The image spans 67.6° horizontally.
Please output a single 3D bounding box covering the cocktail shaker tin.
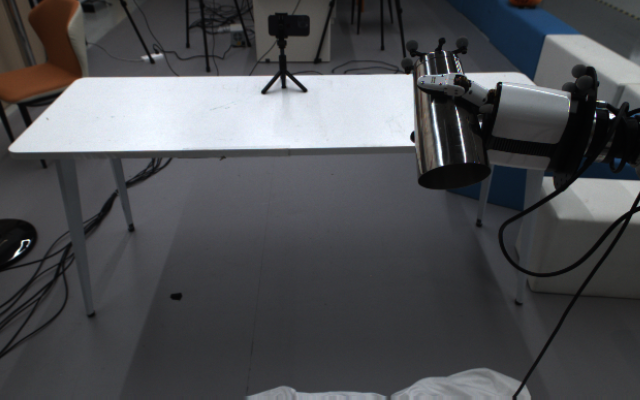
[{"bbox_3d":[0.167,-0.109,0.646,0.093,0.093,0.170,-2,71,-6],"label":"cocktail shaker tin"}]
